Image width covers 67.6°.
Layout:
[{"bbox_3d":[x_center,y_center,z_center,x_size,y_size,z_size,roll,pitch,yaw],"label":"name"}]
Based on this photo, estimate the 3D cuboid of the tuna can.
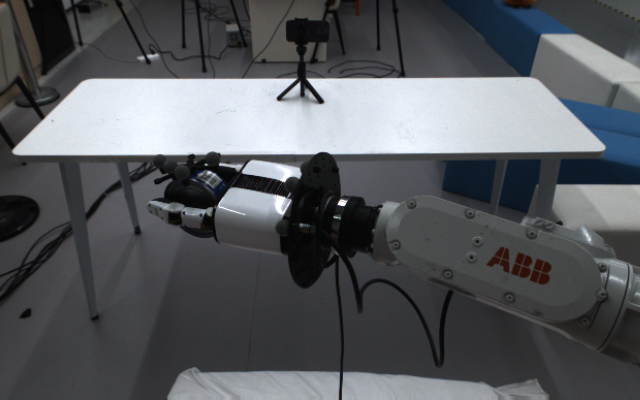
[{"bbox_3d":[-0.148,0.004,0.609,0.085,0.085,0.034,14,34,16],"label":"tuna can"}]
